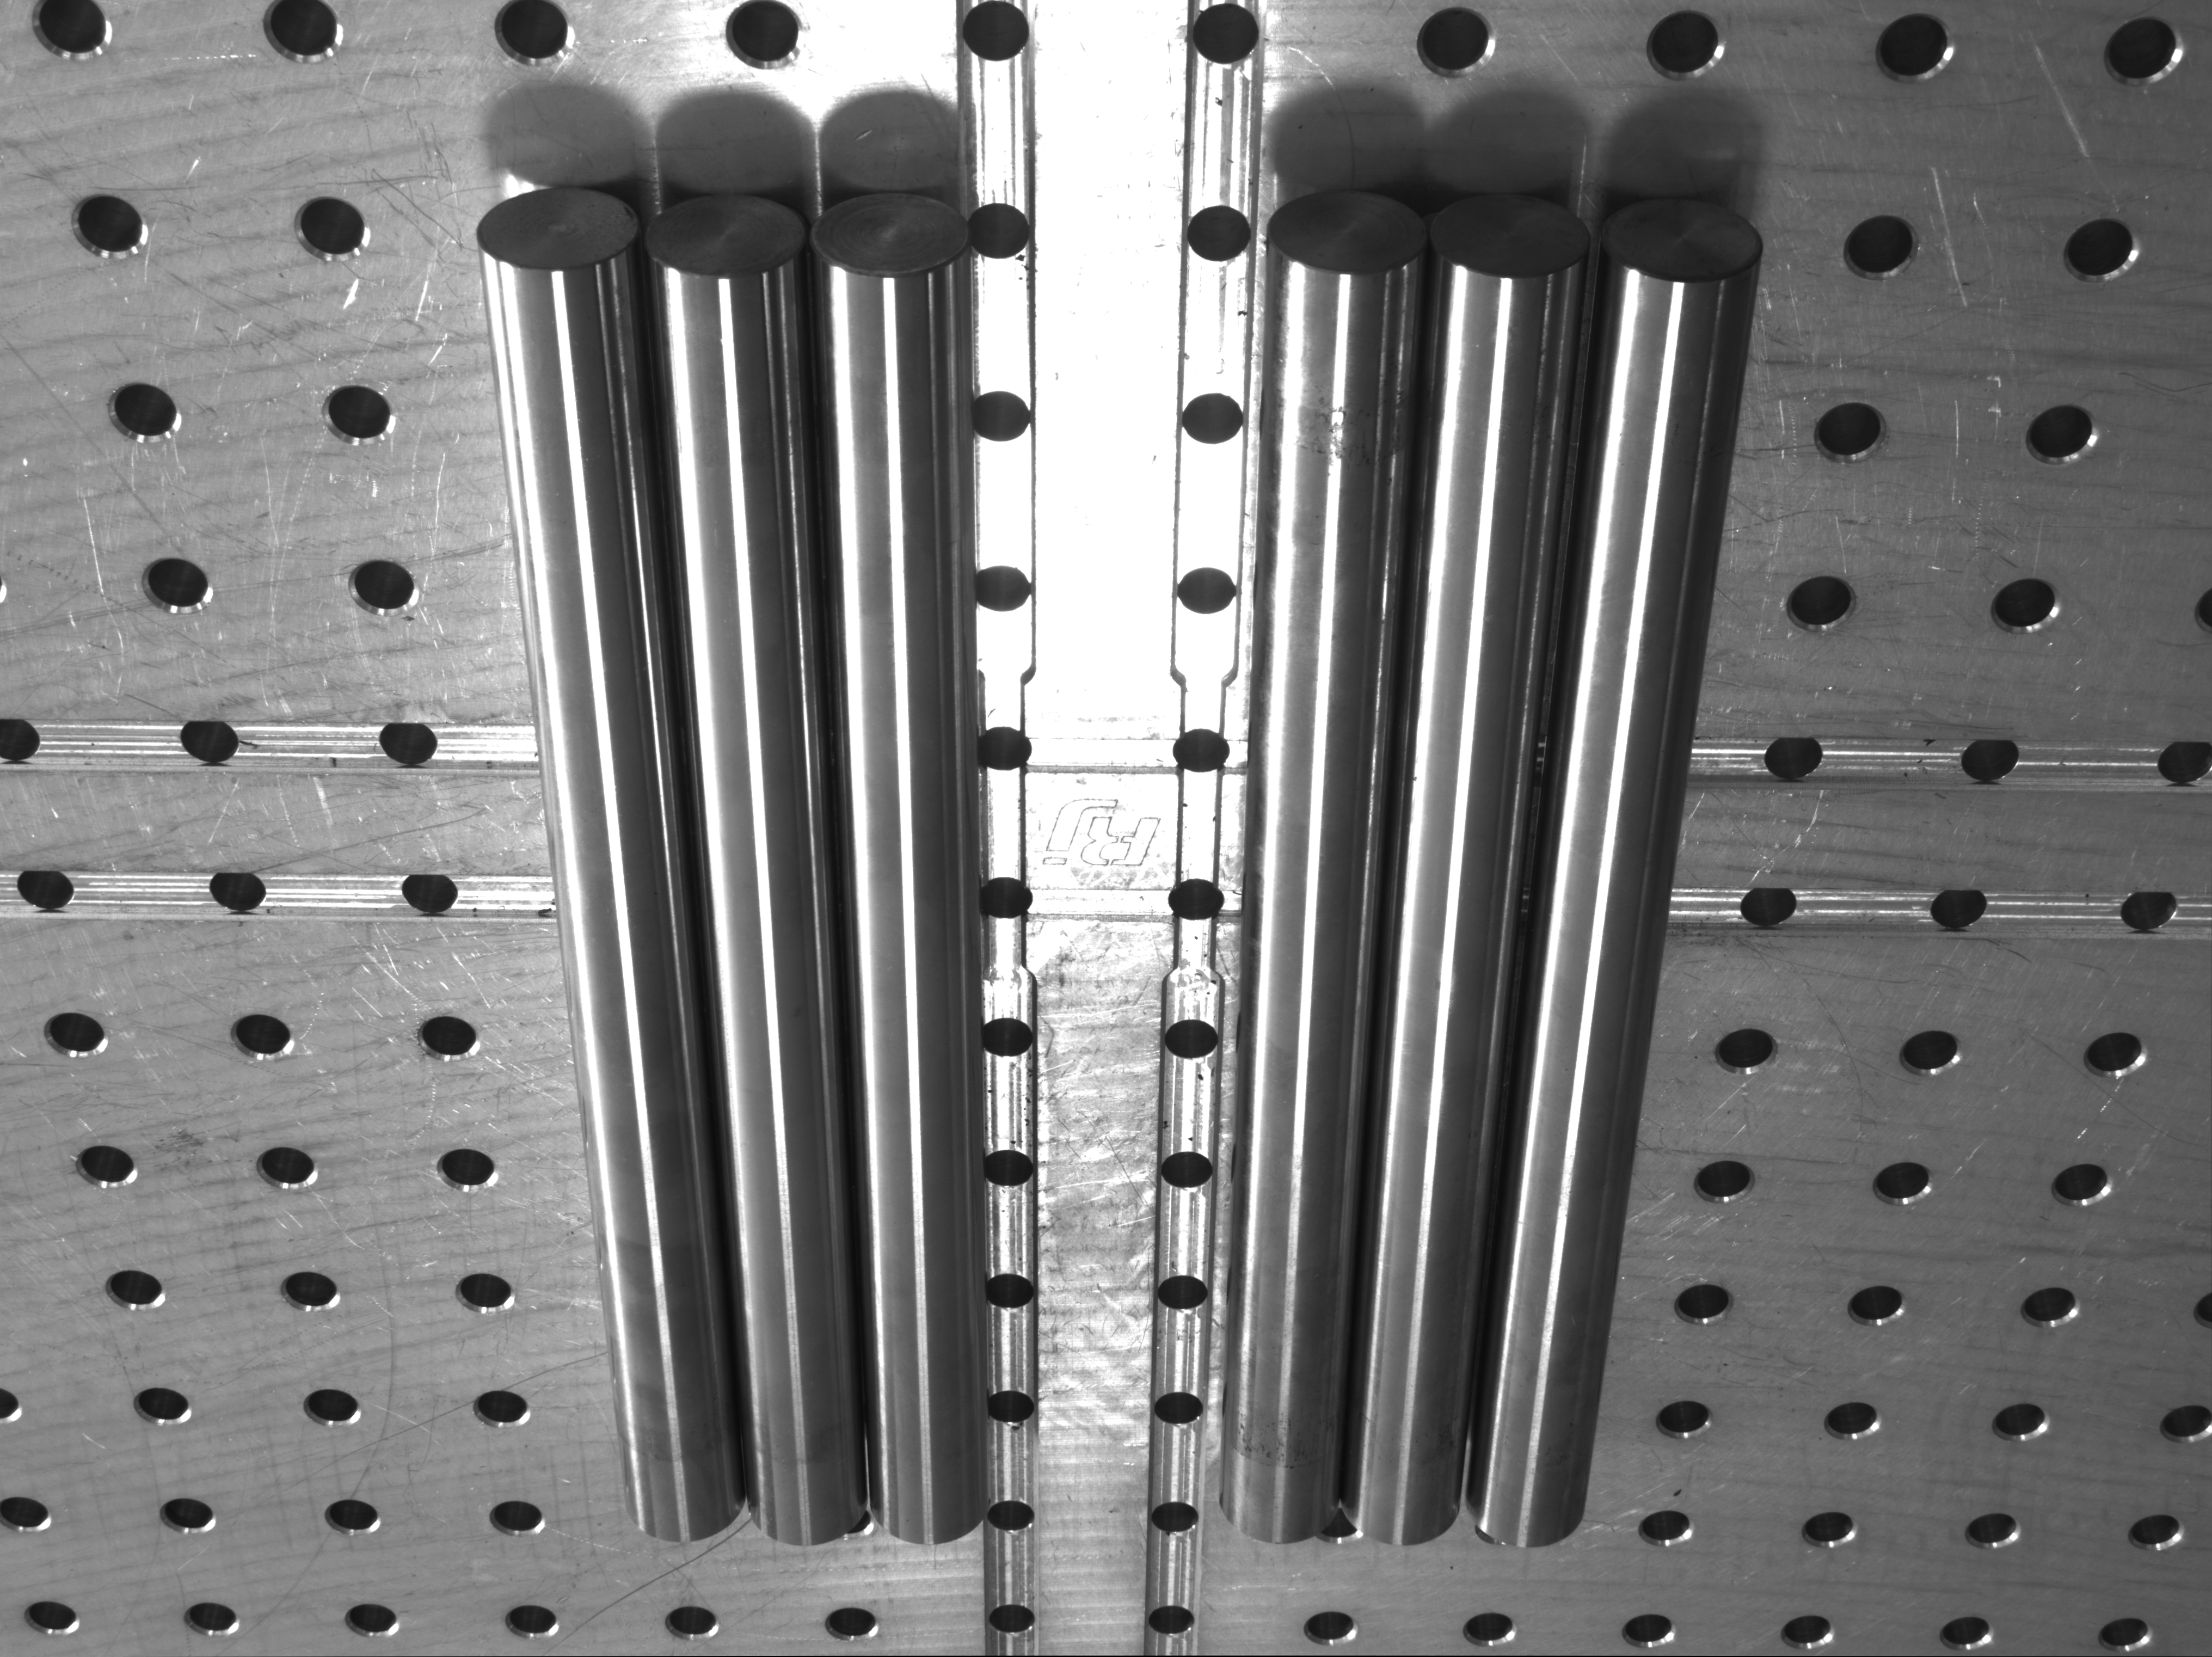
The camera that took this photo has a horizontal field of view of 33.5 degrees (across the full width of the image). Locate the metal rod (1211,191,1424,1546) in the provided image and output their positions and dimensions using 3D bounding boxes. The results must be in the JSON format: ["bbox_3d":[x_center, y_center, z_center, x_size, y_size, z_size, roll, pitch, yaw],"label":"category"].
[{"bbox_3d":[0.035,0.023,0.662,0.025,0.025,0.300,0,130,0],"label":"metal rod"}]

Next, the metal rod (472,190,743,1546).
[{"bbox_3d":[-0.086,0.023,0.661,0.025,0.025,0.300,0,130,0],"label":"metal rod"}]

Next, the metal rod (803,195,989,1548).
[{"bbox_3d":[-0.035,0.024,0.662,0.025,0.025,0.300,0,130,0],"label":"metal rod"}]

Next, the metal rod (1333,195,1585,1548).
[{"bbox_3d":[0.060,0.024,0.662,0.025,0.025,0.300,0,130,0],"label":"metal rod"}]

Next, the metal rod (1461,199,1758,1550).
[{"bbox_3d":[0.087,0.024,0.663,0.025,0.025,0.300,0,130,0],"label":"metal rod"}]

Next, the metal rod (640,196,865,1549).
[{"bbox_3d":[-0.060,0.024,0.662,0.025,0.025,0.300,0,130,0],"label":"metal rod"}]
